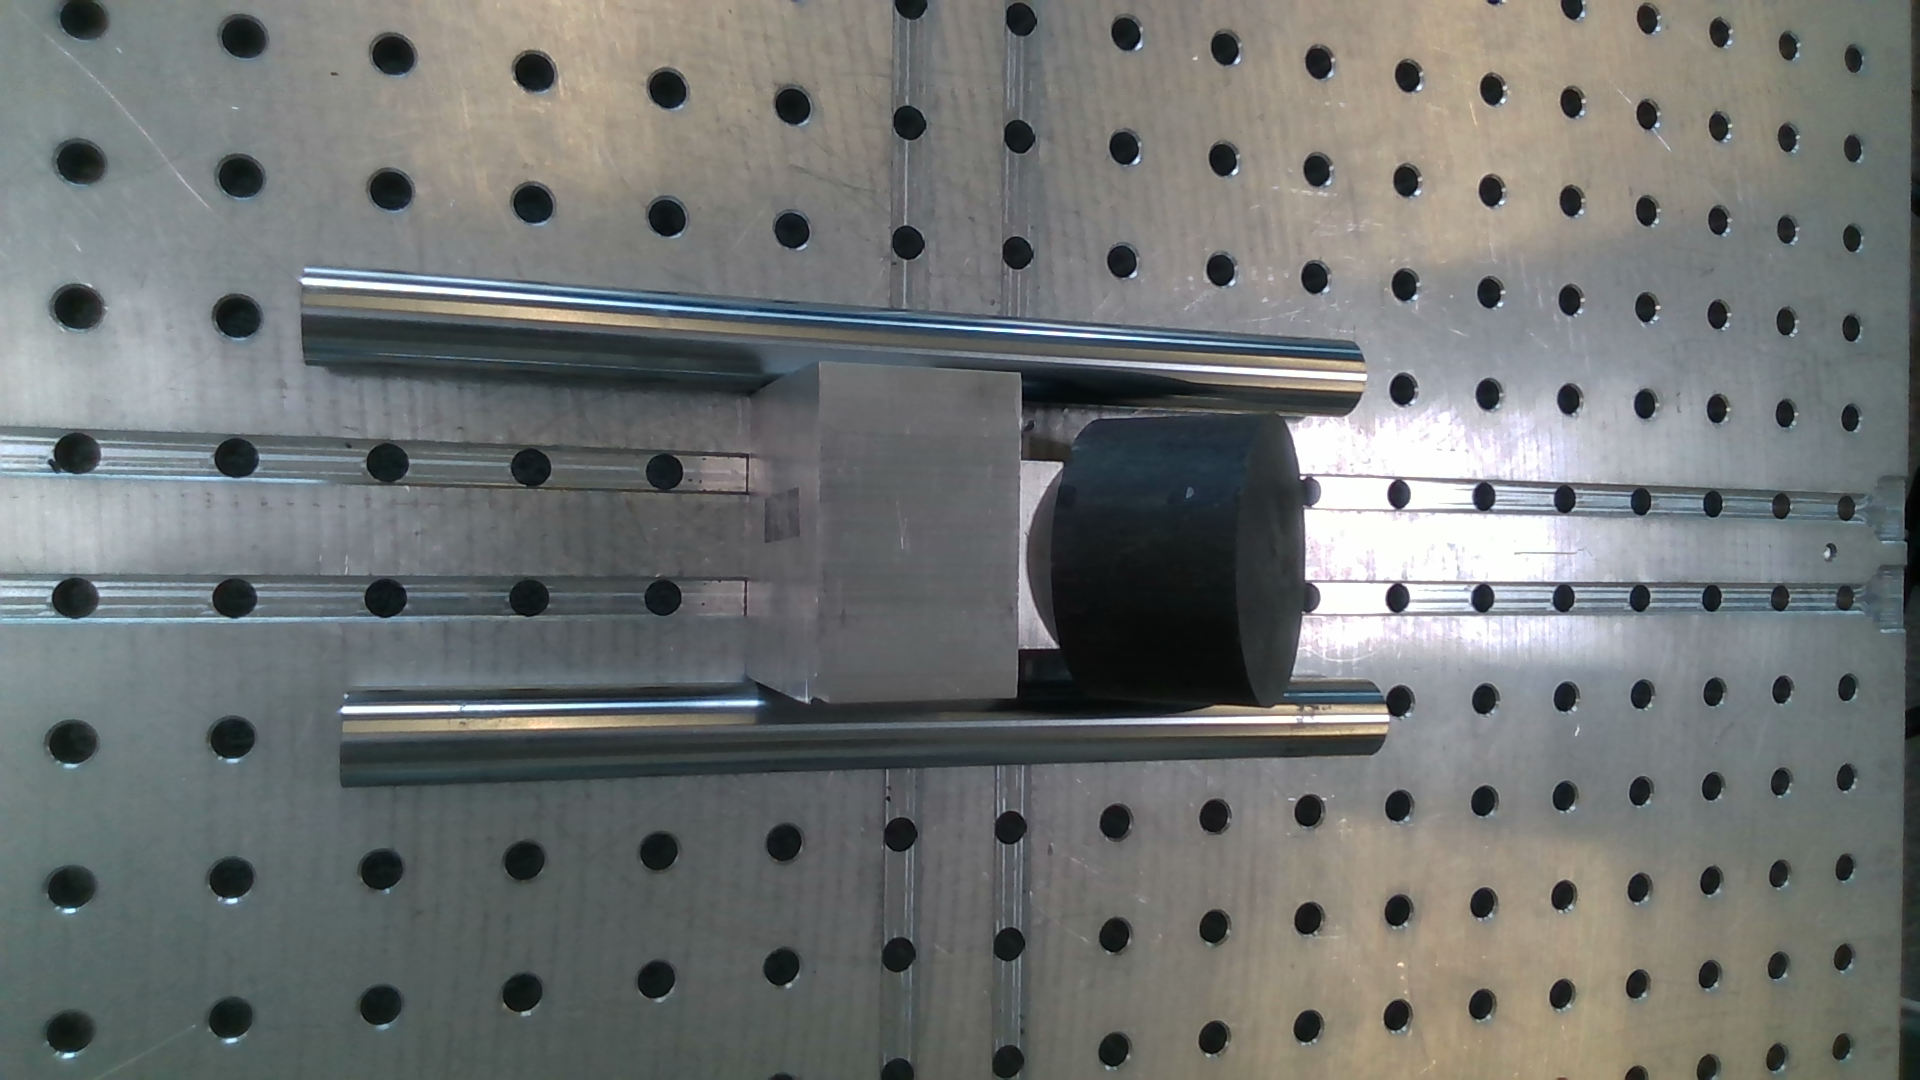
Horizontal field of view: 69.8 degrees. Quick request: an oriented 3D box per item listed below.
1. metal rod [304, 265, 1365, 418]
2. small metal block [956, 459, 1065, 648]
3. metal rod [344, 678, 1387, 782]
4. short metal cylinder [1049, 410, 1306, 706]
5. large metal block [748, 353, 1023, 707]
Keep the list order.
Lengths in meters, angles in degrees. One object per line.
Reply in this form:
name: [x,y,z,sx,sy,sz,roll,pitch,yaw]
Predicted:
metal rod: [-0.019,-0.053,0.389,0.300,0.025,0.025,1,90,-20]
small metal block: [0.007,0.003,0.386,0.025,0.050,0.050,1,90,-20]
metal rod: [-0.011,0.052,0.393,0.300,0.025,0.025,2,89,-20]
short metal cylinder: [0.063,0.005,0.384,0.080,0.050,0.080,1,90,-64]
large metal block: [-0.023,-0.002,0.357,0.050,0.080,0.080,1,90,-20]
